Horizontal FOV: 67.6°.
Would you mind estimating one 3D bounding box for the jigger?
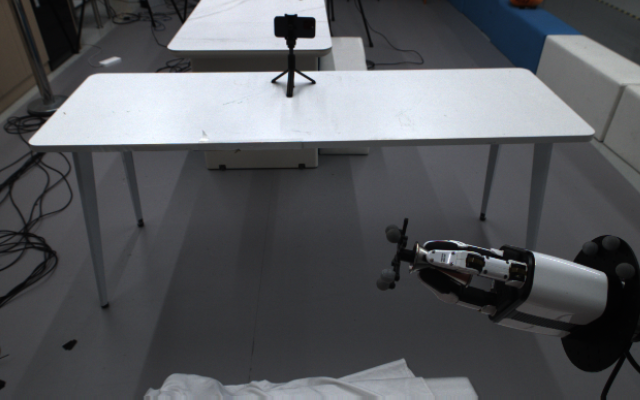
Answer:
[{"bbox_3d":[0.151,0.072,0.579,0.071,0.043,0.043,13,36,3],"label":"jigger"}]
